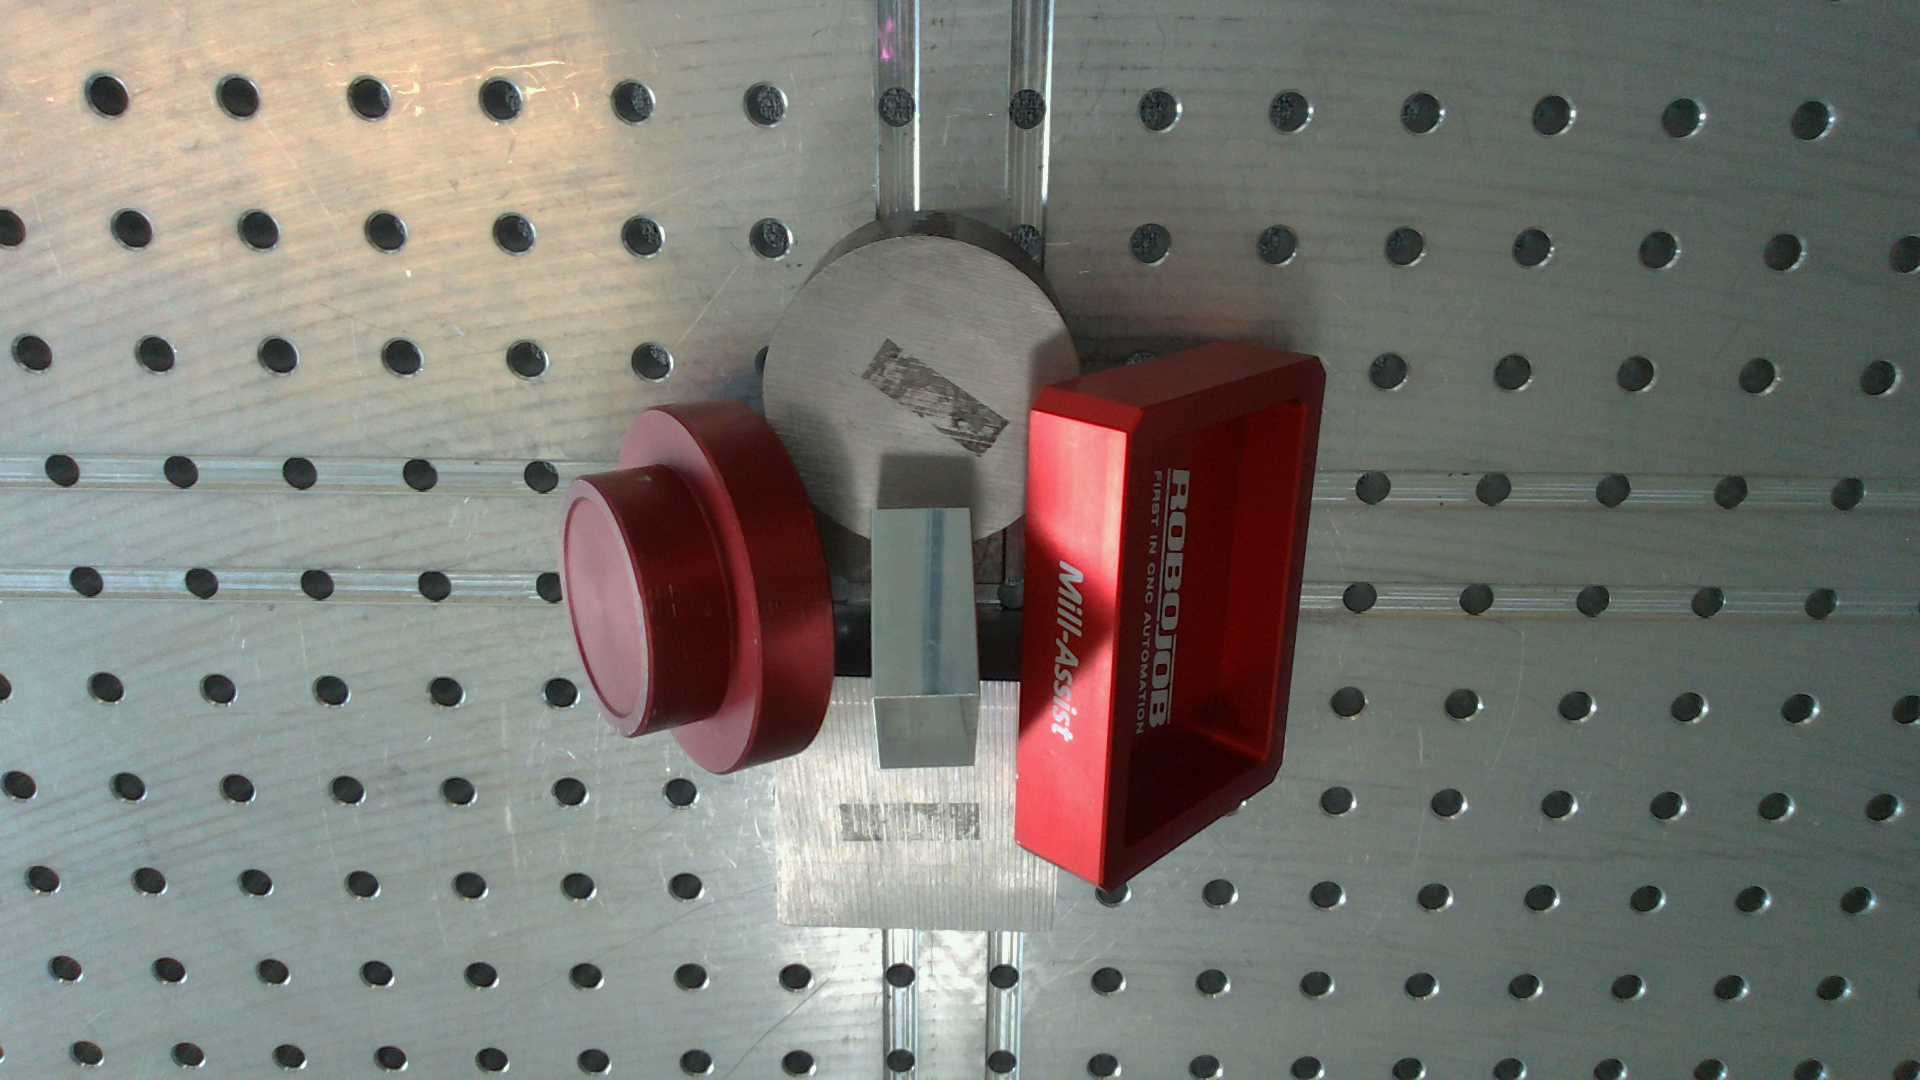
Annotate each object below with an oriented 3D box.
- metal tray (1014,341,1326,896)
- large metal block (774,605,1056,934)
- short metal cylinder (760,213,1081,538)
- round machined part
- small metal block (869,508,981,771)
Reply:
[{"bbox_3d":[0.057,0.018,0.370,0.030,0.090,0.130,19,116,39],"label":"metal tray"},{"bbox_3d":[-0.012,0.067,0.407,0.080,0.050,0.080,2,110,-1],"label":"large metal block"},{"bbox_3d":[-0.010,-0.044,0.366,0.080,0.050,0.080,0,110,0],"label":"short metal cylinder"},{"bbox_3d":[-0.074,0.014,0.358,0.042,0.098,0.098,-12,114,-31],"label":"round machined part"},{"bbox_3d":[-0.010,0.026,0.348,0.025,0.050,0.050,-1,152,-3],"label":"small metal block"}]
